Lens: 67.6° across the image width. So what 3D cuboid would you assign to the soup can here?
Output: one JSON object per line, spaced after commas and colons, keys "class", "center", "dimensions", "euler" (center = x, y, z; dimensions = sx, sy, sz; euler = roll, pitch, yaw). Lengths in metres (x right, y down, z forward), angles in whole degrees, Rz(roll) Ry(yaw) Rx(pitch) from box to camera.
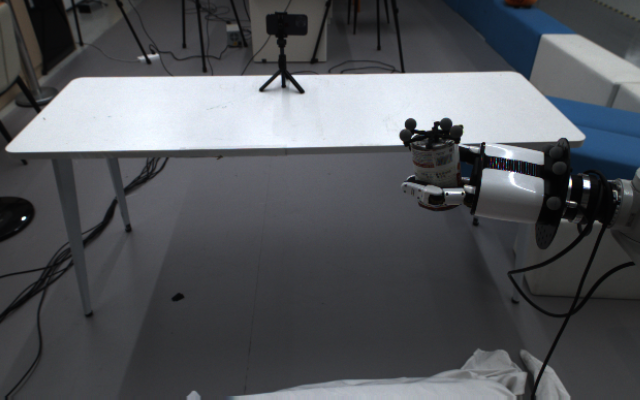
{"class": "soup can", "center": [0.173, -0.045, 0.705], "dimensions": [0.067, 0.101, 0.067], "euler": [-11, 27, 6]}
